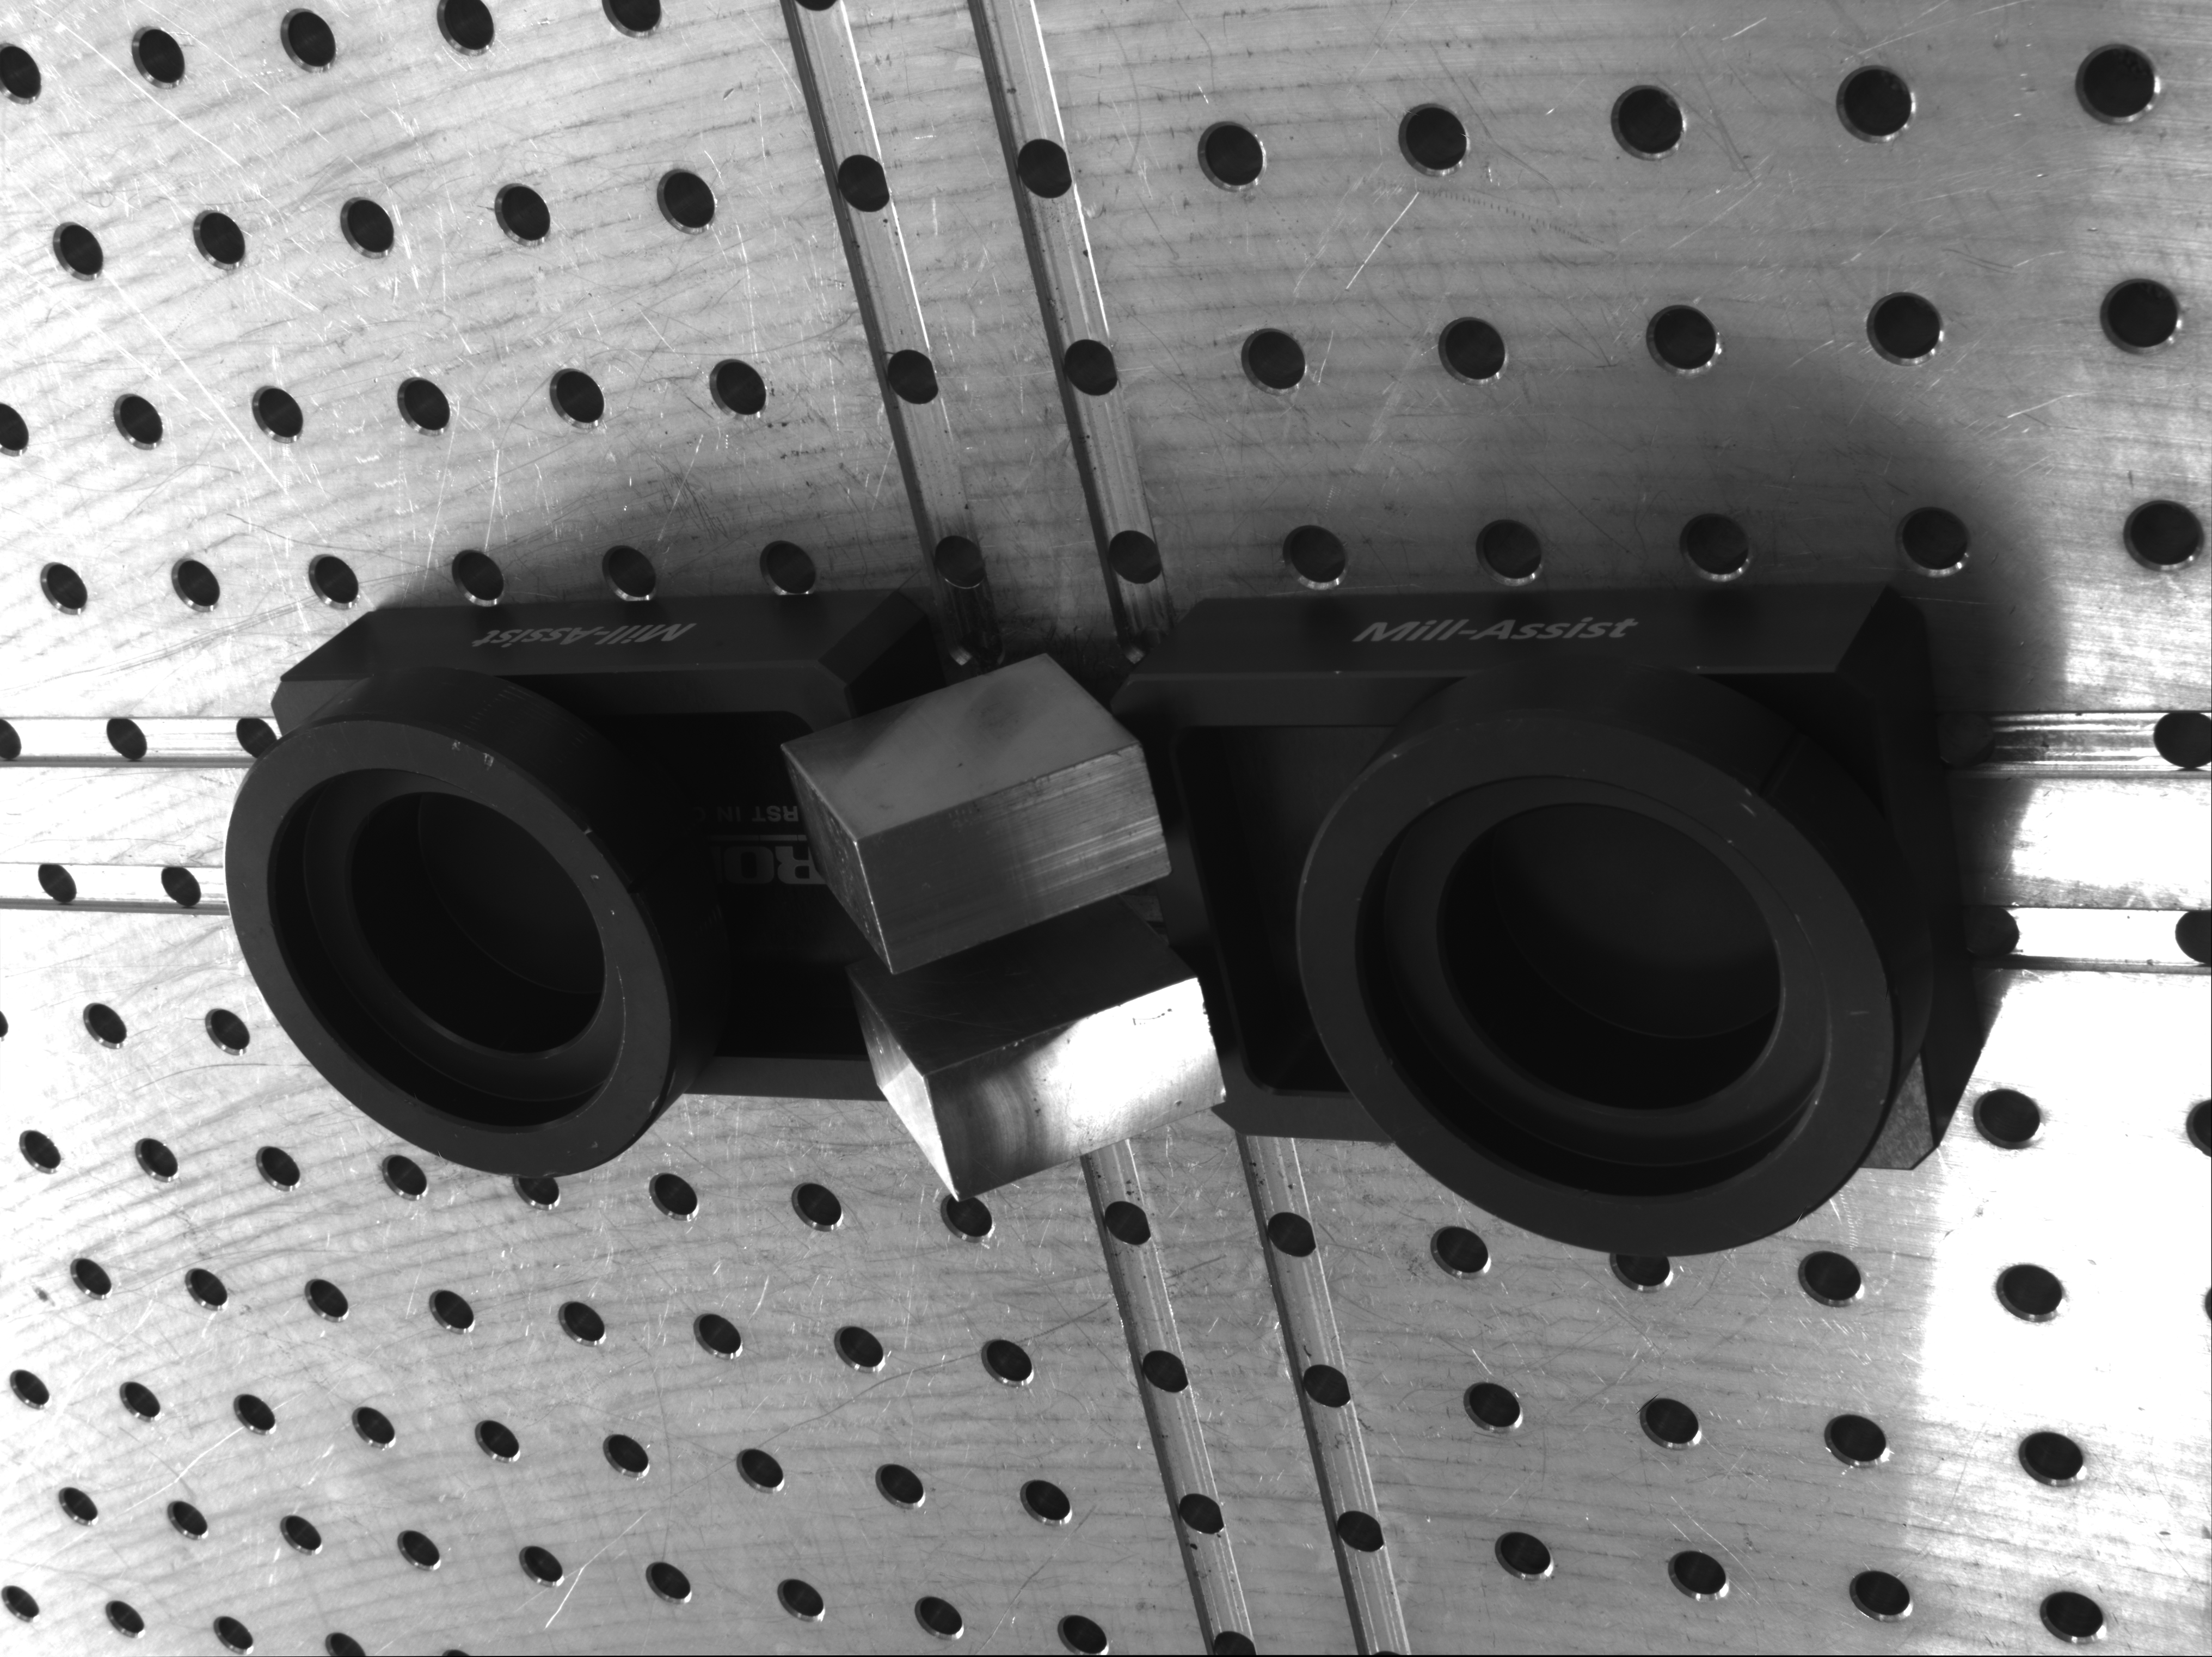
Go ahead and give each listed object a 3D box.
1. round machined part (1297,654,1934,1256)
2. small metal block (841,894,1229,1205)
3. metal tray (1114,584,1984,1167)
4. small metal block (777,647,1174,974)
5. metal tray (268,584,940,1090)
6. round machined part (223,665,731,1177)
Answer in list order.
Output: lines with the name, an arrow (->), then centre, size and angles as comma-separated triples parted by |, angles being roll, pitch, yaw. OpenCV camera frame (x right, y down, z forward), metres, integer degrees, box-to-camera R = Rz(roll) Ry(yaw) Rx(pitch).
round machined part -> 0.083, 0.016, 0.583 | 0.098, 0.042, 0.098 | 13, 124, 21
small metal block -> -0.013, 0.036, 0.639 | 0.050, 0.050, 0.025 | -135, 28, -61
metal tray -> 0.073, 0.008, 0.608 | 0.130, 0.030, 0.090 | 1, 119, 28
small metal block -> -0.023, -0.004, 0.621 | 0.050, 0.050, 0.025 | -135, 28, -61
metal tray -> -0.086, 0.003, 0.691 | 0.130, 0.030, 0.090 | -1, 120, 29
round machined part -> -0.112, 0.013, 0.687 | 0.098, 0.042, 0.098 | 13, 124, 21
